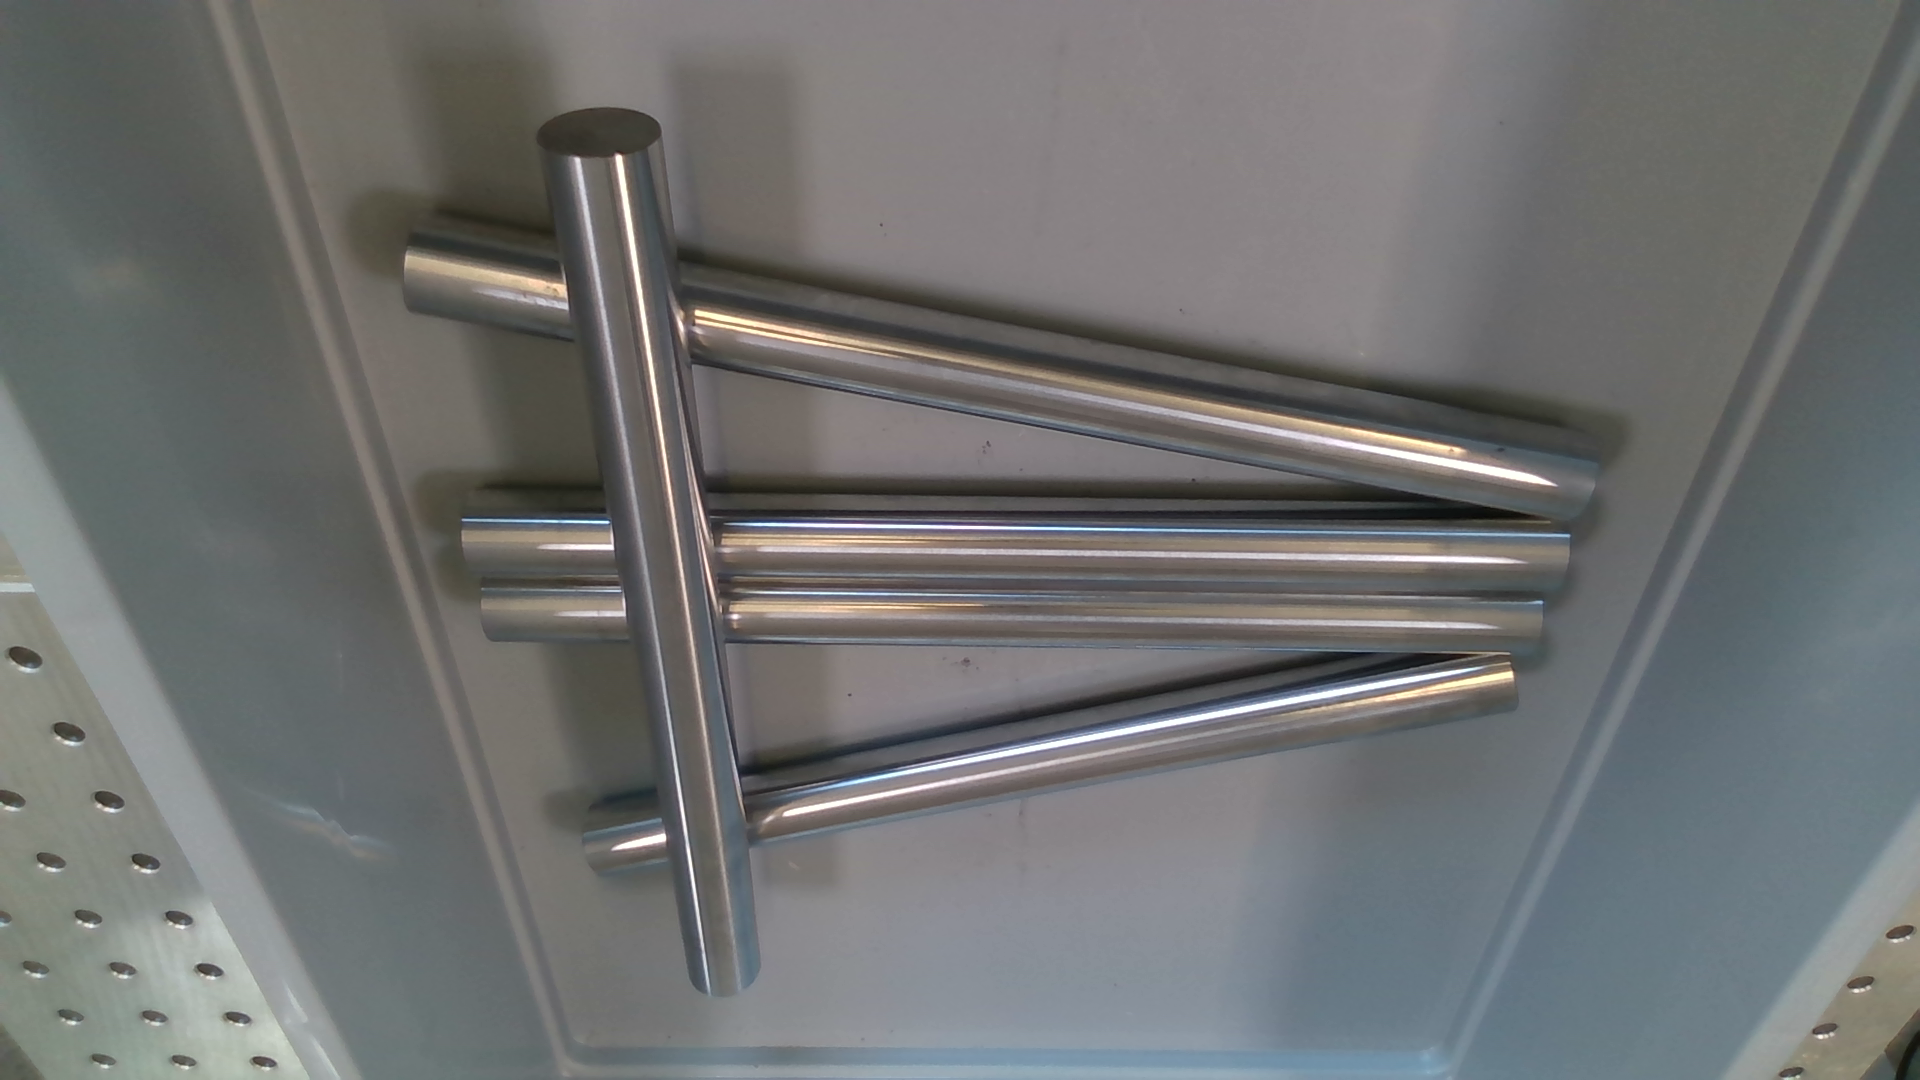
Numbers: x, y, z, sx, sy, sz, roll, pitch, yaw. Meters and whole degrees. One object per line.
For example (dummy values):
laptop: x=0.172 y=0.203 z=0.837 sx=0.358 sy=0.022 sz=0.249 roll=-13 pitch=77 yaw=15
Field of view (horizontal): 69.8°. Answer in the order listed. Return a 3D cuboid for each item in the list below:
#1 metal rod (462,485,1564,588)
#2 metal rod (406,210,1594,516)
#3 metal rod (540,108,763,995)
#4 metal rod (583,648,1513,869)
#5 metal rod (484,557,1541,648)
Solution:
metal rod: x=0.015 y=-0.001 z=0.387 sx=0.300 sy=0.025 sz=0.025 roll=1 pitch=130 yaw=-1
metal rod: x=0.017 y=-0.043 z=0.352 sx=0.300 sy=0.025 sz=0.025 roll=9 pitch=130 yaw=-8
metal rod: x=-0.077 y=0.031 z=0.380 sx=0.025 sy=0.025 sz=0.301 roll=1 pitch=130 yaw=-1
metal rod: x=0.021 y=0.069 z=0.447 sx=0.300 sy=0.025 sz=0.025 roll=-12 pitch=129 yaw=10
metal rod: x=0.015 y=0.018 z=0.403 sx=0.300 sy=0.025 sz=0.025 roll=1 pitch=130 yaw=0
